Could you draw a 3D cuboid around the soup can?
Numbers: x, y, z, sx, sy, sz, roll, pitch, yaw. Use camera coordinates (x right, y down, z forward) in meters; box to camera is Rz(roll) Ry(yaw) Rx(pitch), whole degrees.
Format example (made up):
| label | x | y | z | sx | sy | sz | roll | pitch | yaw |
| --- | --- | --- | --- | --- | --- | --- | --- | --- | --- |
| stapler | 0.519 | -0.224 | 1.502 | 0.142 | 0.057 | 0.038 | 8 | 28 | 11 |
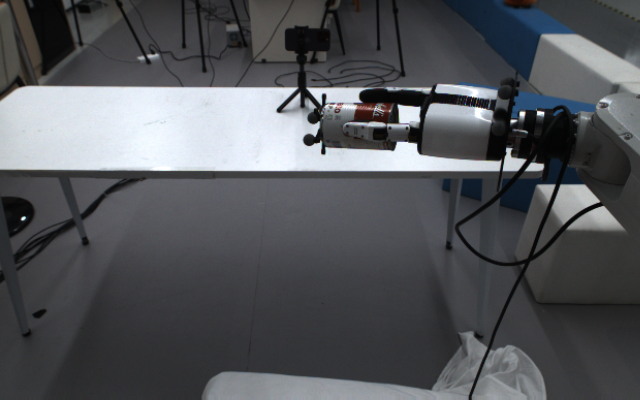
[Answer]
| label | x | y | z | sx | sy | sz | roll | pitch | yaw |
| --- | --- | --- | --- | --- | --- | --- | --- | --- | --- |
| soup can | 0.060 | -0.107 | 0.701 | 0.101 | 0.067 | 0.067 | 5 | 34 | 18 |
